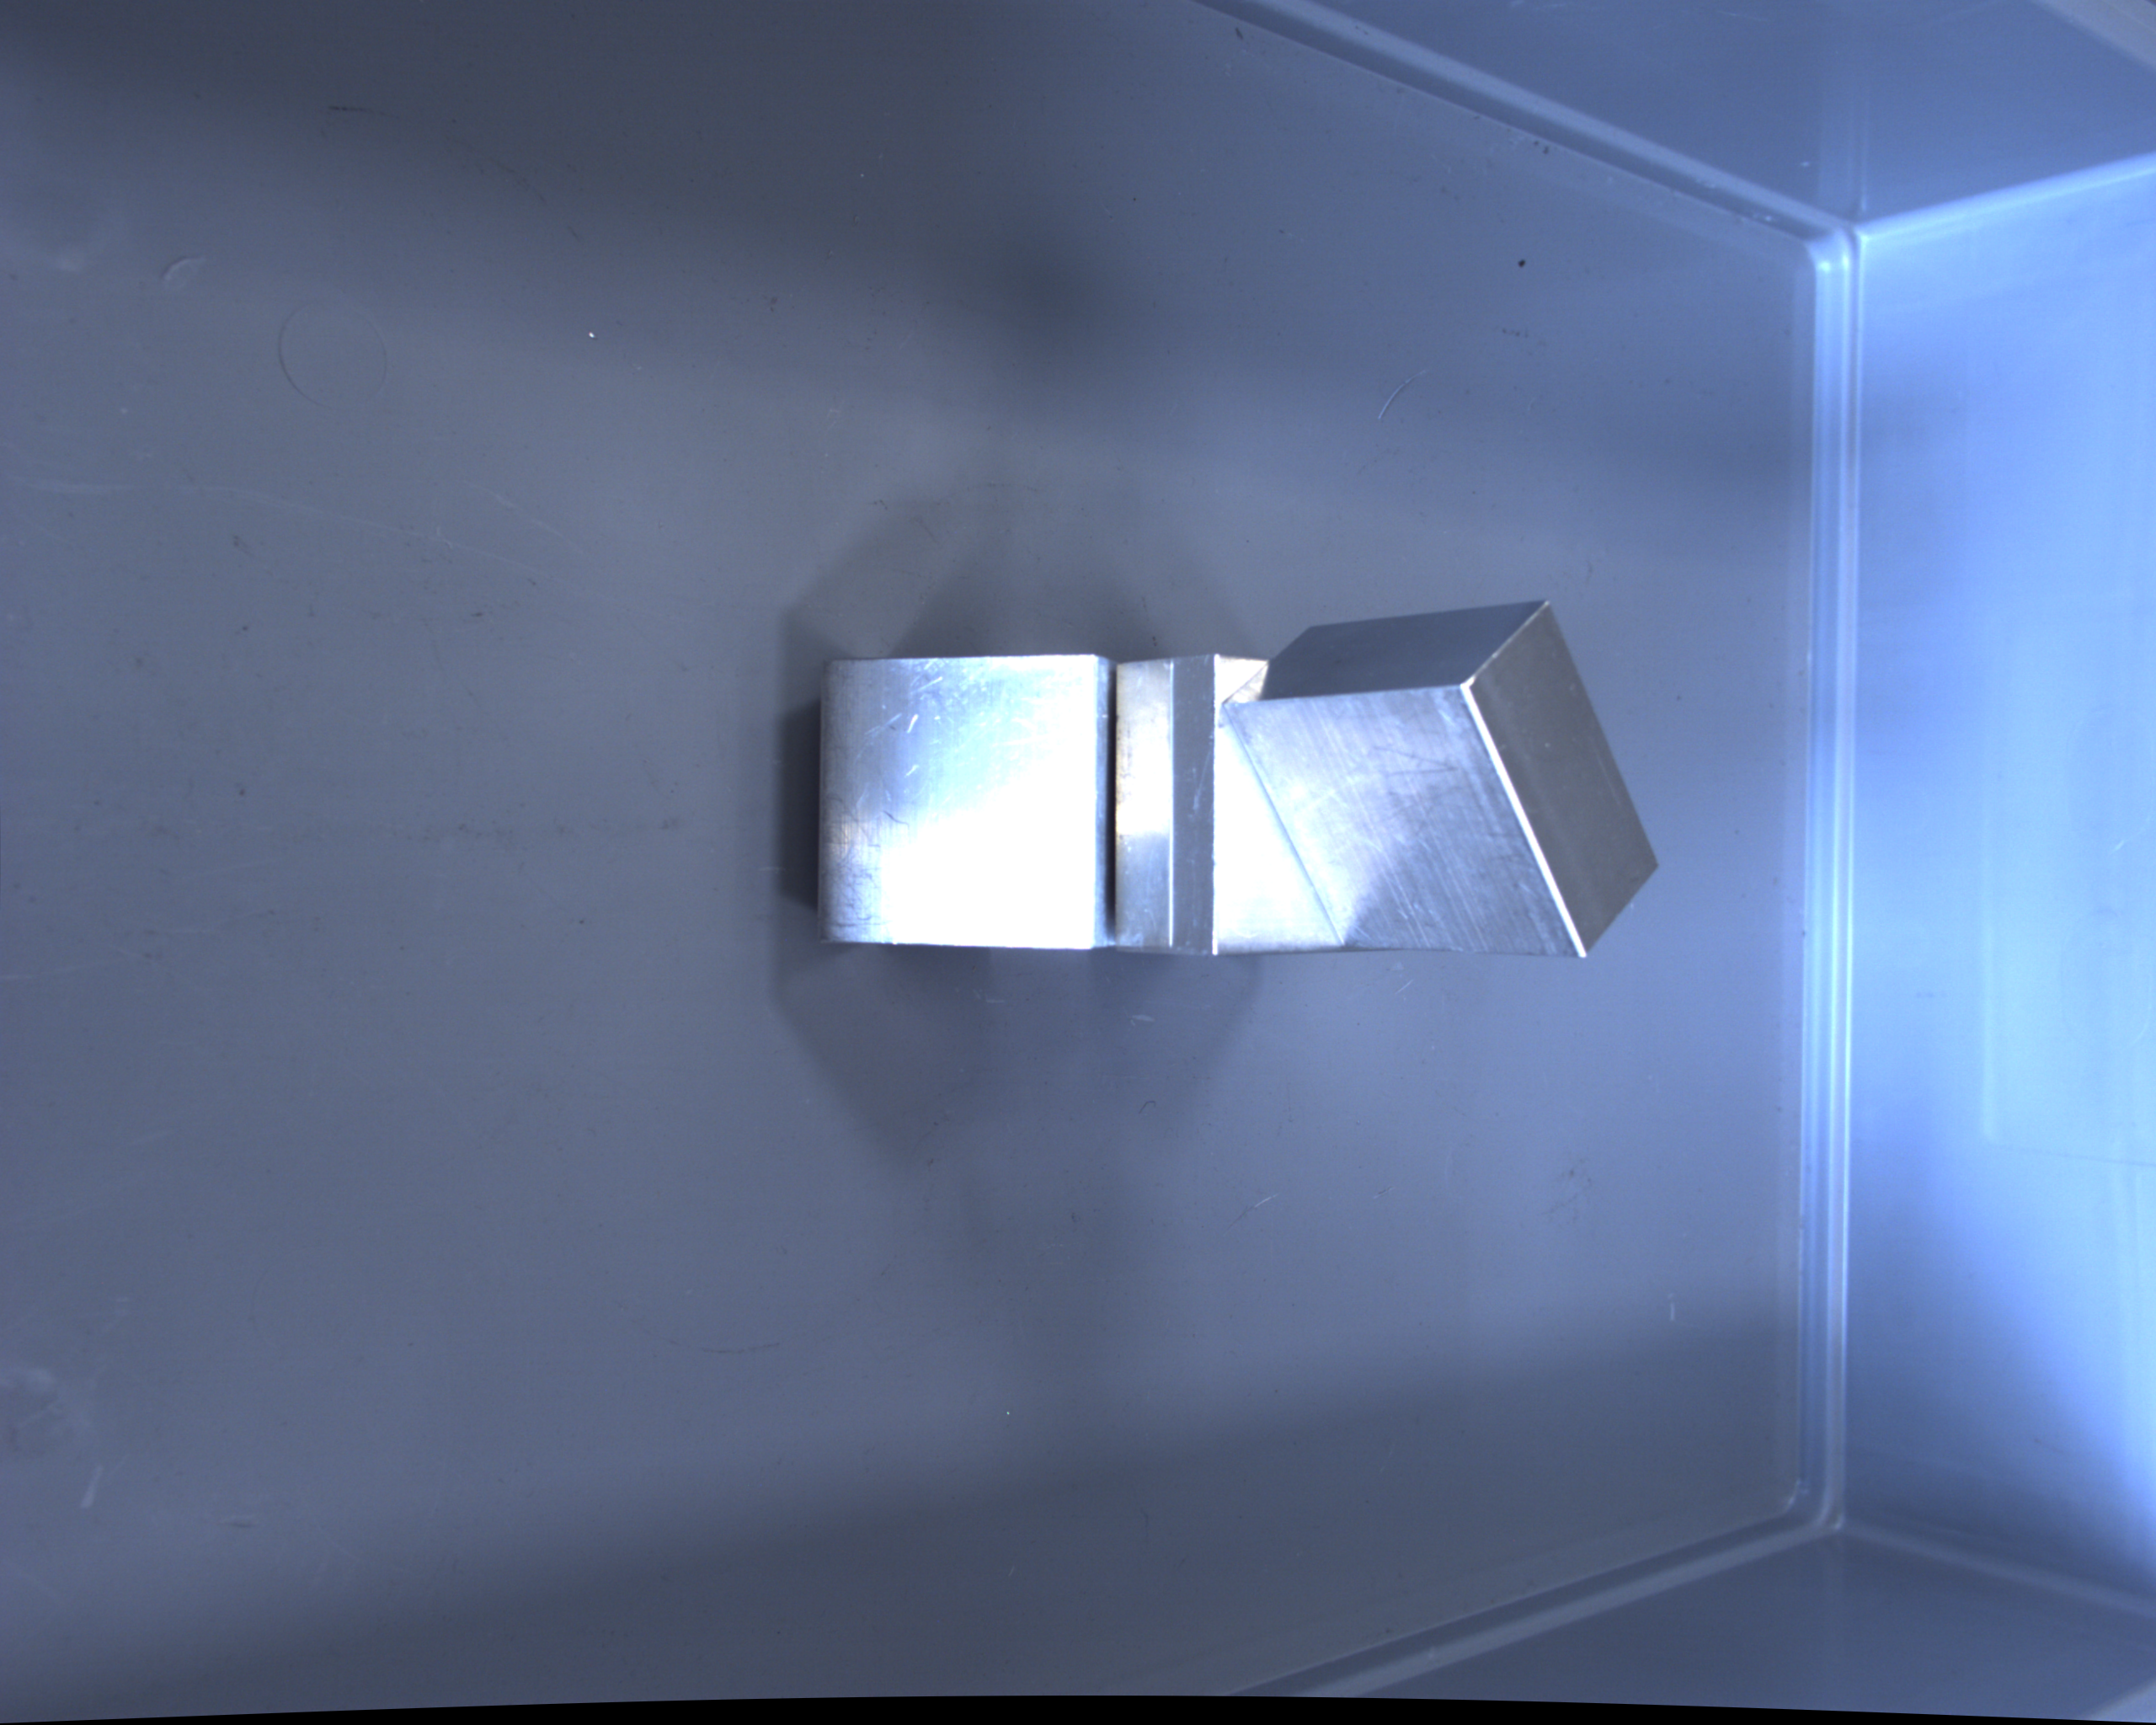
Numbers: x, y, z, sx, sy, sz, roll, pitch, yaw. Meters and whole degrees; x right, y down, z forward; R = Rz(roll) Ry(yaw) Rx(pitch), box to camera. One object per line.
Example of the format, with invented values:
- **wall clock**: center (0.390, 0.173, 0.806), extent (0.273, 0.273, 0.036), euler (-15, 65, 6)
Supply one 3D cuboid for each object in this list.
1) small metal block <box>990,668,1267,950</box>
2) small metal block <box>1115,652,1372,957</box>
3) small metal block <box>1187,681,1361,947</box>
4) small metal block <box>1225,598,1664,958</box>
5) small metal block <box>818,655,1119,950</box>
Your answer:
- **small metal block**: center (0.009, -0.009, 0.395), extent (0.025, 0.050, 0.050), euler (1, 89, -40)
- **small metal block**: center (0.034, -0.009, 0.366), extent (0.050, 0.025, 0.050), euler (1, 89, -40)
- **small metal block**: center (0.038, -0.009, 0.417), extent (0.025, 0.050, 0.050), euler (1, 90, -6)
- **small metal block**: center (0.059, -0.013, 0.339), extent (0.025, 0.050, 0.050), euler (-42, 116, -31)
- **small metal block**: center (-0.017, -0.010, 0.370), extent (0.025, 0.050, 0.050), euler (2, 89, -74)
